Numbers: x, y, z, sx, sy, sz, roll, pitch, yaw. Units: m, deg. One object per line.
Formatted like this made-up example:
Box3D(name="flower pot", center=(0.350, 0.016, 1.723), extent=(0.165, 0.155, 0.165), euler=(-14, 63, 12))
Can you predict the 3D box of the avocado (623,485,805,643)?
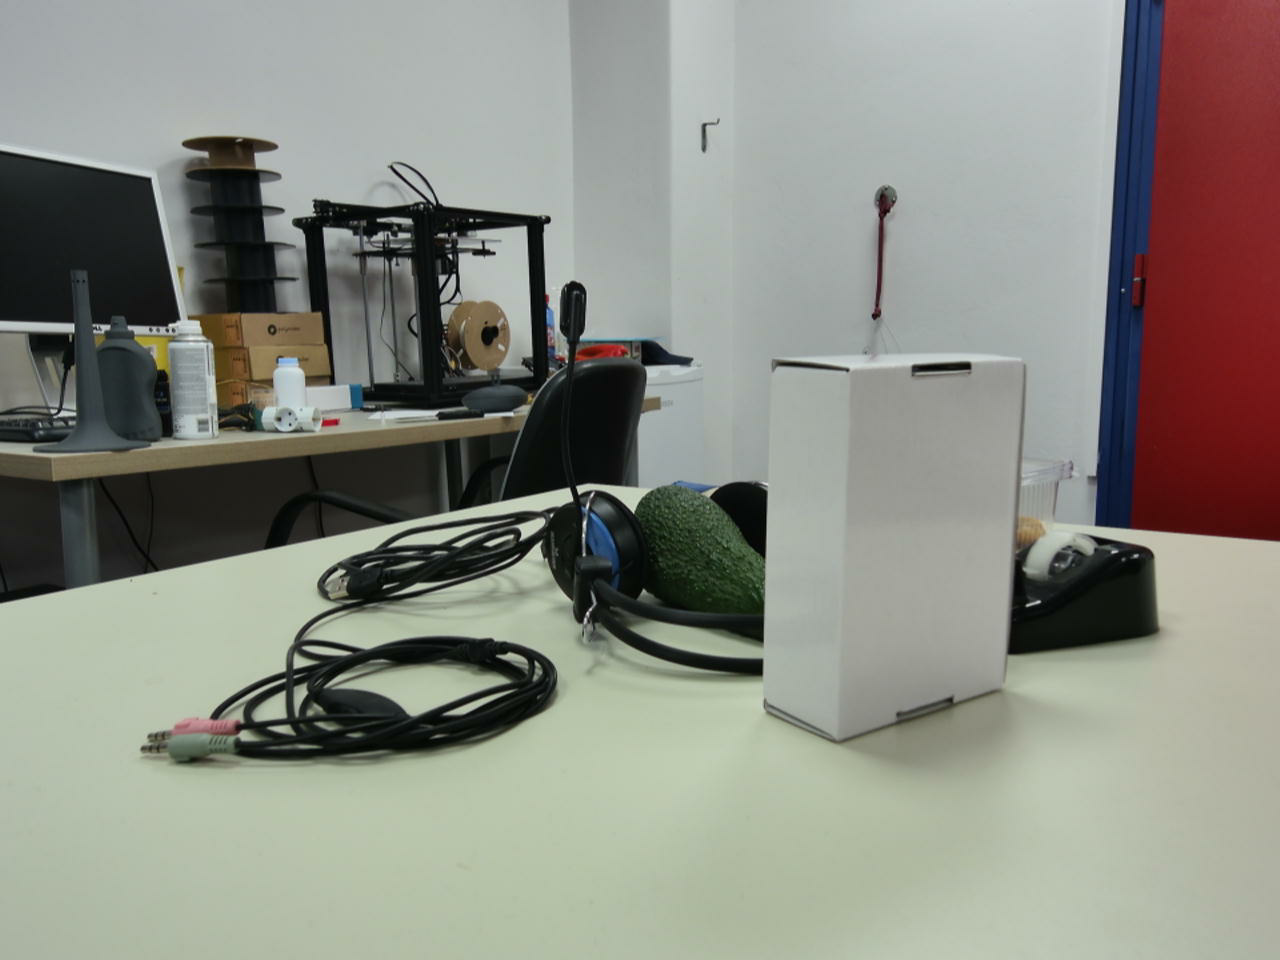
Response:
Box3D(name="avocado", center=(0.042, 0.040, 0.534), extent=(0.063, 0.067, 0.141), euler=(-4, 7, -39))
